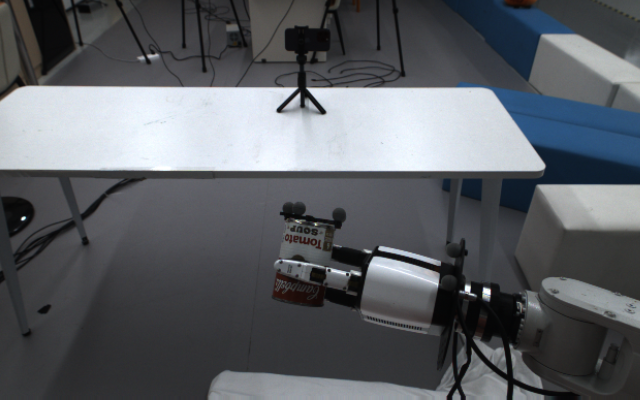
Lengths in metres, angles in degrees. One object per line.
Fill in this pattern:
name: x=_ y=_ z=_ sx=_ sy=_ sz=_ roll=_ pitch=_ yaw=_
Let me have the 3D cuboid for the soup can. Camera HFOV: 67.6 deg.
soup can: x=-0.018 y=0.079 z=0.618 sx=0.067 sy=0.101 sz=0.067 roll=9 pitch=-5 yaw=1
